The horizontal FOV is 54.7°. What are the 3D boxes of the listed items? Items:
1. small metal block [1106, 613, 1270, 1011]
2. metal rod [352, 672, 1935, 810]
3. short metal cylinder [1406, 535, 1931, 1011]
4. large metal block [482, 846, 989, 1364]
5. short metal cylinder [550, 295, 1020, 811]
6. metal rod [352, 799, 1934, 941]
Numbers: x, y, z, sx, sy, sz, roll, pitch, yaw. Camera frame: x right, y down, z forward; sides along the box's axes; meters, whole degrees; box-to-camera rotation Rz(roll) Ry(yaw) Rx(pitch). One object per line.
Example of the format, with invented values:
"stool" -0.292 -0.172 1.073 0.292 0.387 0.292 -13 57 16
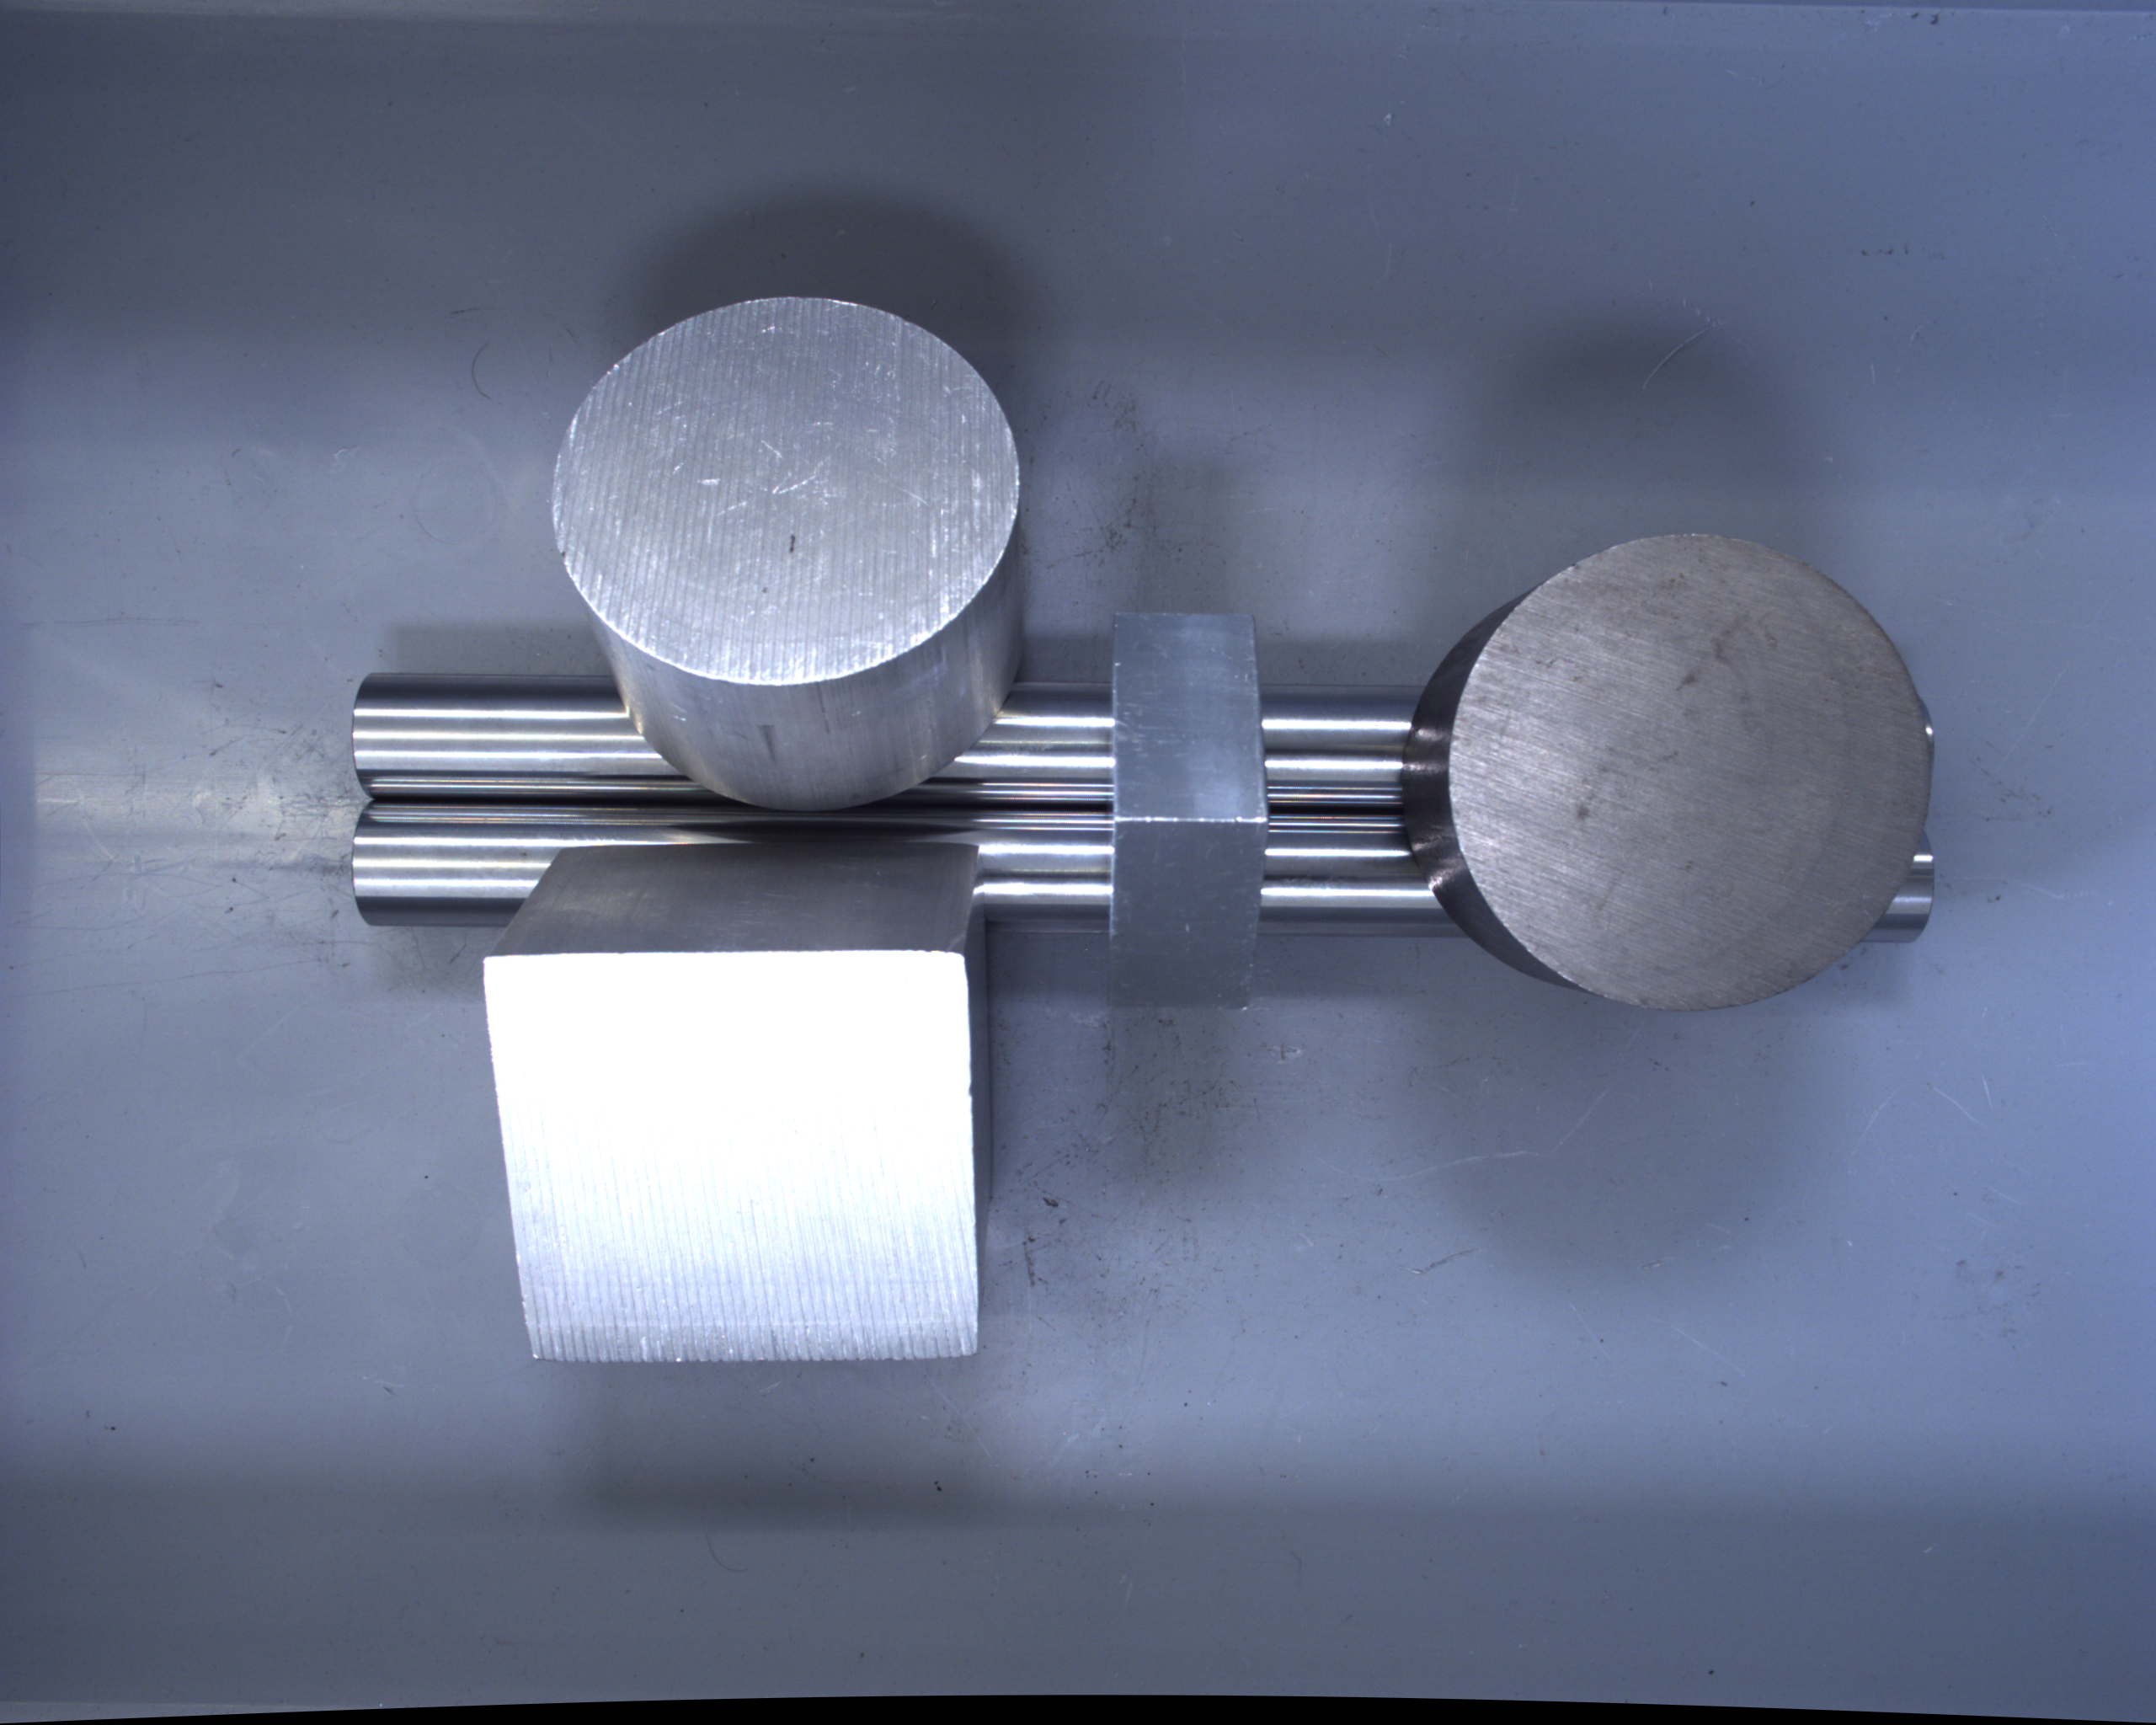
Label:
"small metal block" 0.018 -0.009 0.369 0.025 0.050 0.050 1 48 0
"metal rod" 0.013 -0.023 0.410 0.302 0.025 0.025 1 90 0
"short metal cylinder" 0.102 -0.015 0.373 0.081 0.050 0.079 0 90 0
"large metal block" -0.058 0.043 0.383 0.081 0.050 0.079 -1 110 0
"short metal cylinder" -0.051 -0.056 0.383 0.081 0.050 0.080 0 66 -1
"metal rod" 0.013 0.002 0.410 0.302 0.025 0.025 1 90 0
